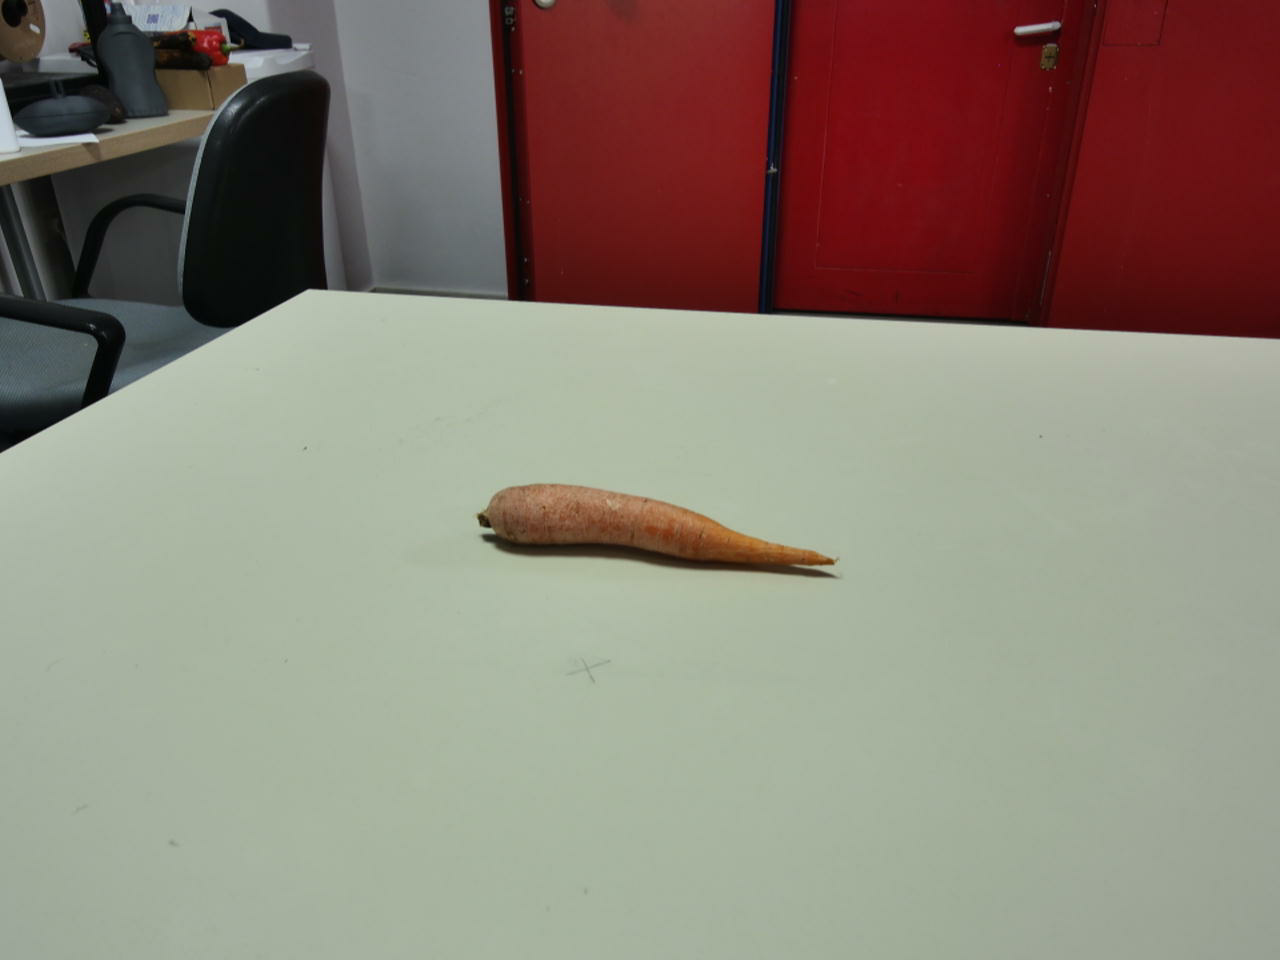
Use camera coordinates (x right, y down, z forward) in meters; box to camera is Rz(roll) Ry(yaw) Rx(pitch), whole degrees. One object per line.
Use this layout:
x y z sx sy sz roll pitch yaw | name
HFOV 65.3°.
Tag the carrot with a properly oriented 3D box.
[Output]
0.005 0.020 0.446 0.163 0.029 0.031 5 25 12 | carrot
